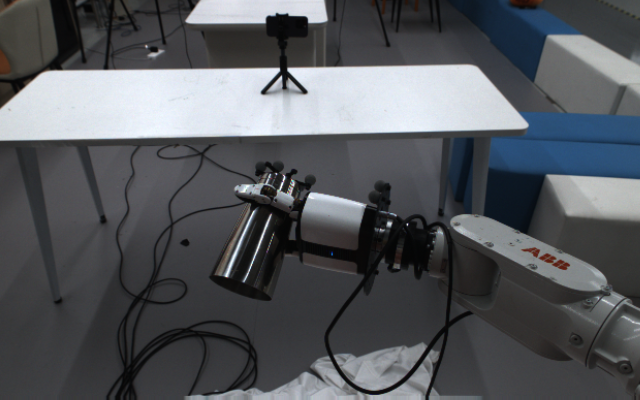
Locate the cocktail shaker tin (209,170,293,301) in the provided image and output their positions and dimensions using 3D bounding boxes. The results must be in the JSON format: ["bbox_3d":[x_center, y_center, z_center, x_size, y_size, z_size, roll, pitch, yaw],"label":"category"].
[{"bbox_3d":[-0.082,0.046,0.697,0.093,0.093,0.170,12,65,15],"label":"cocktail shaker tin"}]
